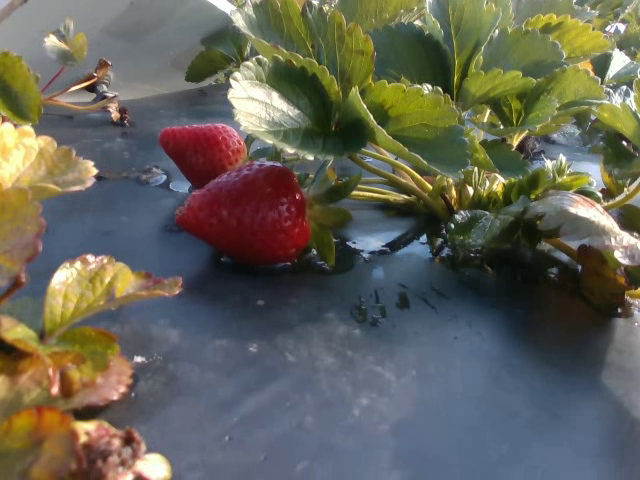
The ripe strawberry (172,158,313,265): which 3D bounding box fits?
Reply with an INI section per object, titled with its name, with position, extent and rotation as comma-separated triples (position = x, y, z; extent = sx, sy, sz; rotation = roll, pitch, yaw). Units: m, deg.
[ripe strawberry]
position = -0.036, -0.013, 0.258
extent = 0.064, 0.050, 0.048
rotation = -17, -13, -28
